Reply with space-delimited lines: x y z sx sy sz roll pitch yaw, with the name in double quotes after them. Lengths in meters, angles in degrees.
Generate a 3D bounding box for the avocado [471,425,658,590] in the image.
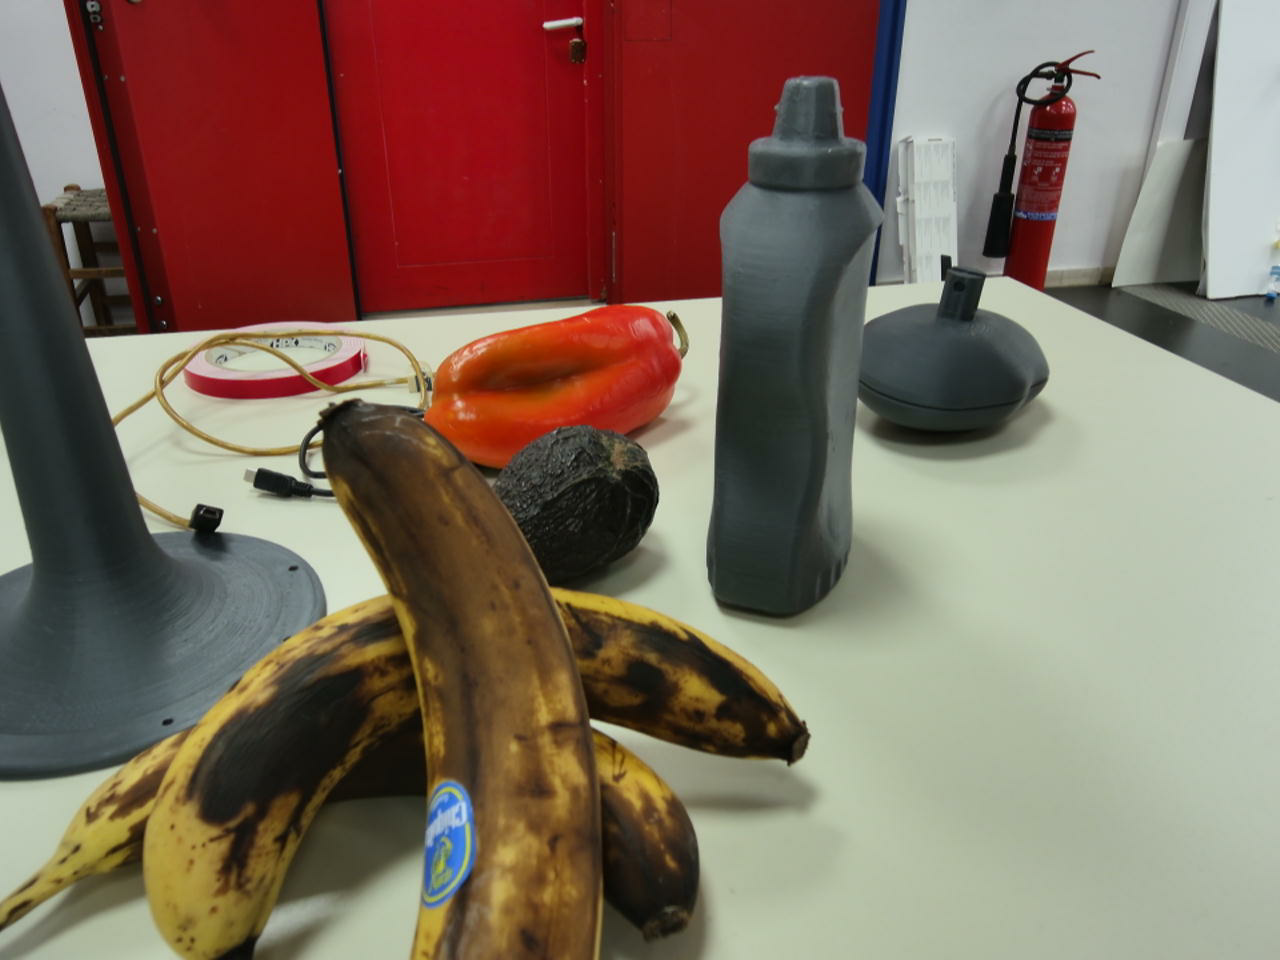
-0.033 0.010 0.422 0.092 0.062 0.062 -17 30 -33 "avocado"
